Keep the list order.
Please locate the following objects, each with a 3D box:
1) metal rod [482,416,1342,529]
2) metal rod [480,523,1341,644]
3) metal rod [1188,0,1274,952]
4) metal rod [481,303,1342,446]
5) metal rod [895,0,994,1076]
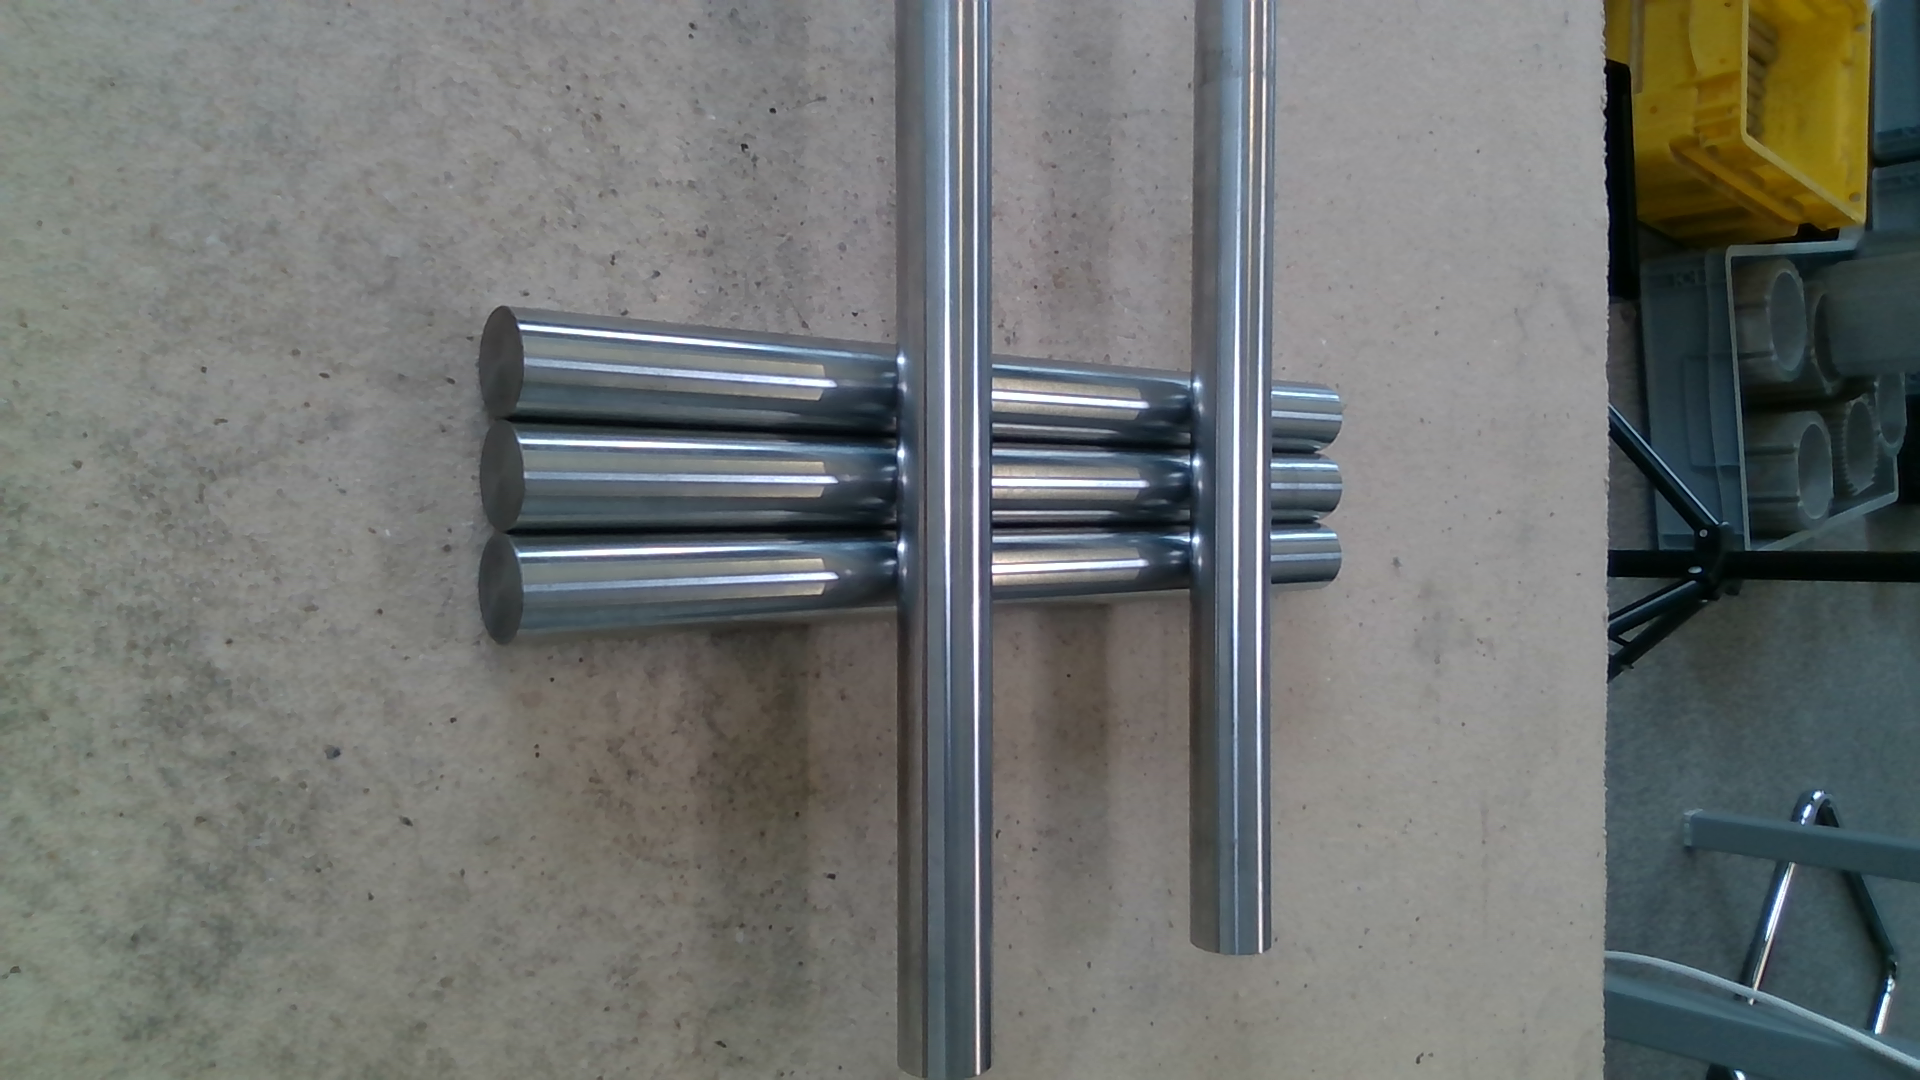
[{"bbox_3d":[0.013,-0.018,0.402,0.300,0.025,0.025,-1,91,-40],"label":"metal rod"},{"bbox_3d":[0.013,0.008,0.402,0.300,0.025,0.025,-1,91,-40],"label":"metal rod"},{"bbox_3d":[0.085,-0.025,0.430,0.025,0.025,0.300,0,90,-40],"label":"metal rod"},{"bbox_3d":[0.013,-0.042,0.402,0.300,0.025,0.025,-1,91,-40],"label":"metal rod"},{"bbox_3d":[-0.004,-0.016,0.355,0.025,0.025,0.300,0,90,-40],"label":"metal rod"}]
